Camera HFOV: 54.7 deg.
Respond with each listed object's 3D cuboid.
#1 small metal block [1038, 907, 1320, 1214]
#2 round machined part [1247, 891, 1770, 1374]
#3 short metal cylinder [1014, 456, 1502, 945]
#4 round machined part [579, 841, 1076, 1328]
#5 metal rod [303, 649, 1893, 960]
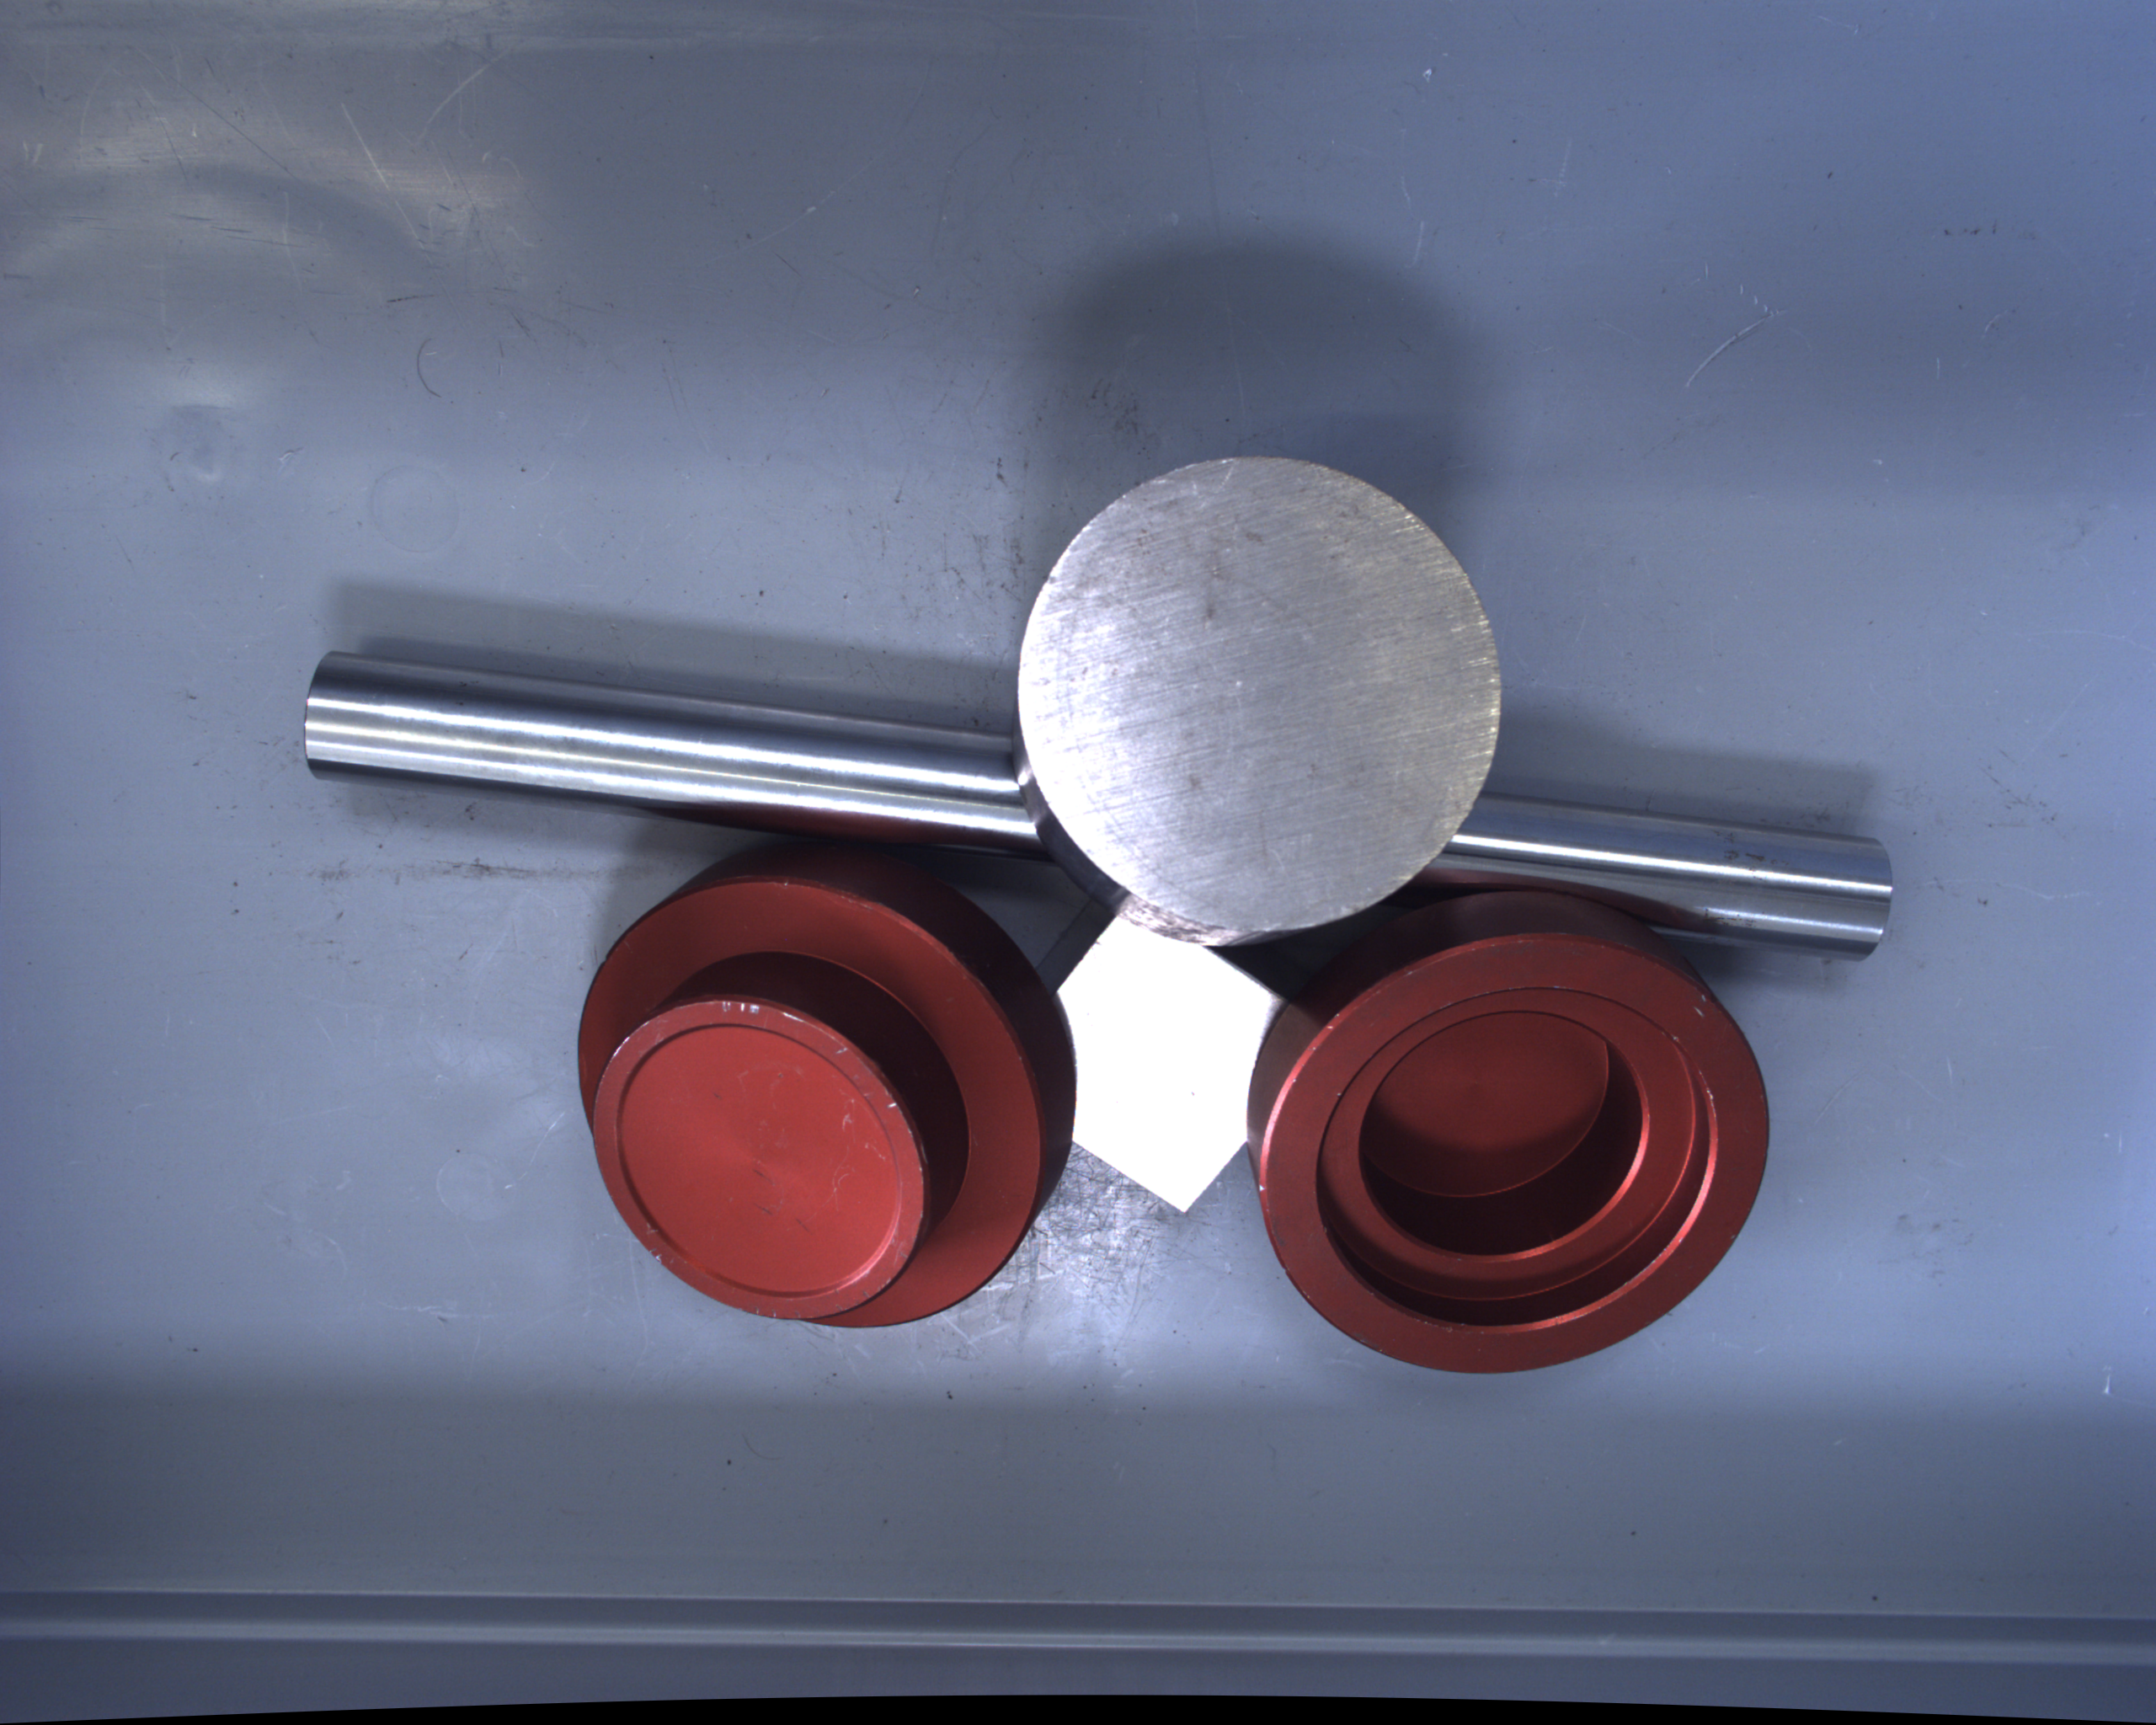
[{"bbox_3d":[0.016,0.034,0.422,0.050,0.025,0.050,35,106,-12],"label":"small metal block"},{"bbox_3d":[0.083,0.050,0.417,0.099,0.042,0.097,-1,113,-3],"label":"round machined part"},{"bbox_3d":[0.029,-0.026,0.371,0.081,0.050,0.080,0,85,-4],"label":"short metal cylinder"},{"bbox_3d":[-0.053,0.048,0.404,0.098,0.042,0.097,6,112,16],"label":"round machined part"},{"bbox_3d":[0.006,-0.011,0.406,0.302,0.025,0.025,7,110,-3],"label":"metal rod"}]
